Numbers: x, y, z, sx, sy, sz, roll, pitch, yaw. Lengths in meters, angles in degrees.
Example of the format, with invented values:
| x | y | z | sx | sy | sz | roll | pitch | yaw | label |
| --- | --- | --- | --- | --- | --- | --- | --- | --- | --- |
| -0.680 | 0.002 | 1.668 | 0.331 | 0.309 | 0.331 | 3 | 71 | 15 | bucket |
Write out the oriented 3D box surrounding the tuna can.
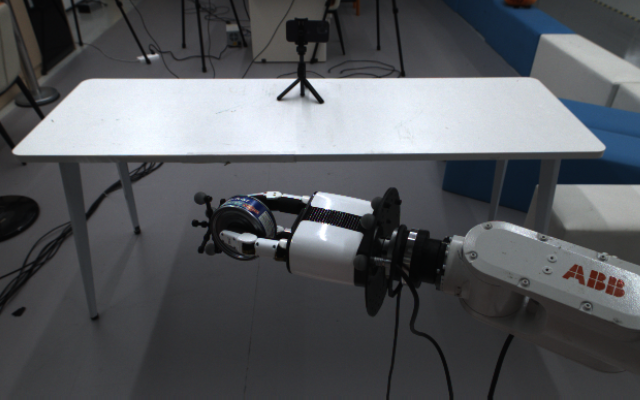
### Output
| x | y | z | sx | sy | sz | roll | pitch | yaw | label |
| --- | --- | --- | --- | --- | --- | --- | --- | --- | --- |
| -0.101 | 0.036 | 0.649 | 0.085 | 0.085 | 0.034 | 12 | 28 | 14 | tuna can |
